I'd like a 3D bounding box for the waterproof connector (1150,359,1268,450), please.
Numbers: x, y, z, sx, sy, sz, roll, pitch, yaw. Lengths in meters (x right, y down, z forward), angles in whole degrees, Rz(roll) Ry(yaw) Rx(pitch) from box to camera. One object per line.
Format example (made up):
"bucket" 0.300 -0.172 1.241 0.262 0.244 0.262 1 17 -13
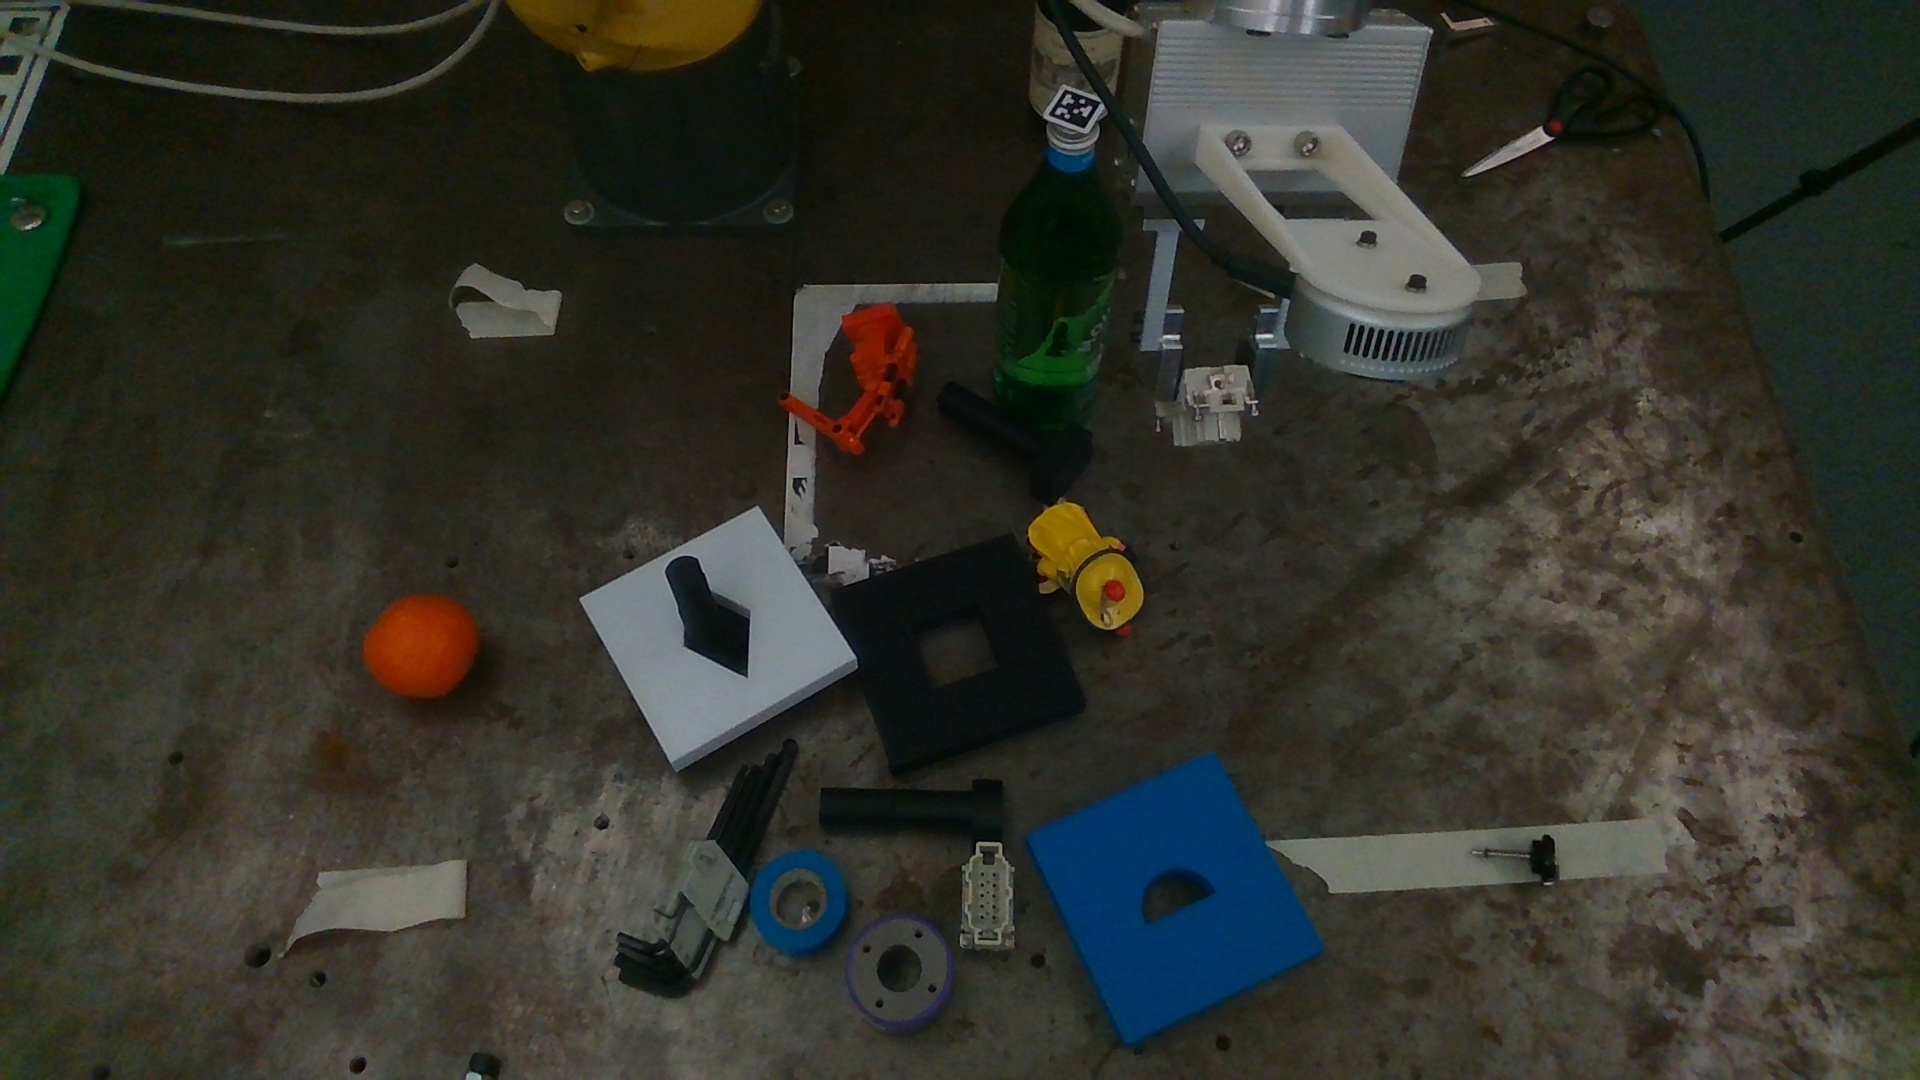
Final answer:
"waterproof connector" 0.117 -0.064 0.665 0.036 0.069 0.038 -5 91 -12
